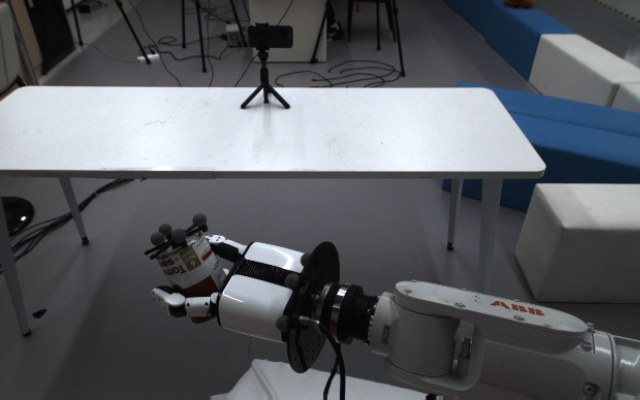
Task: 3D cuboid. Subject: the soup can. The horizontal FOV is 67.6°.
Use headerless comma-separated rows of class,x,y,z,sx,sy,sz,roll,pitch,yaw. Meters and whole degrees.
soup can,-0.158,0.100,0.631,0.067,0.101,0.067,-23,16,7
